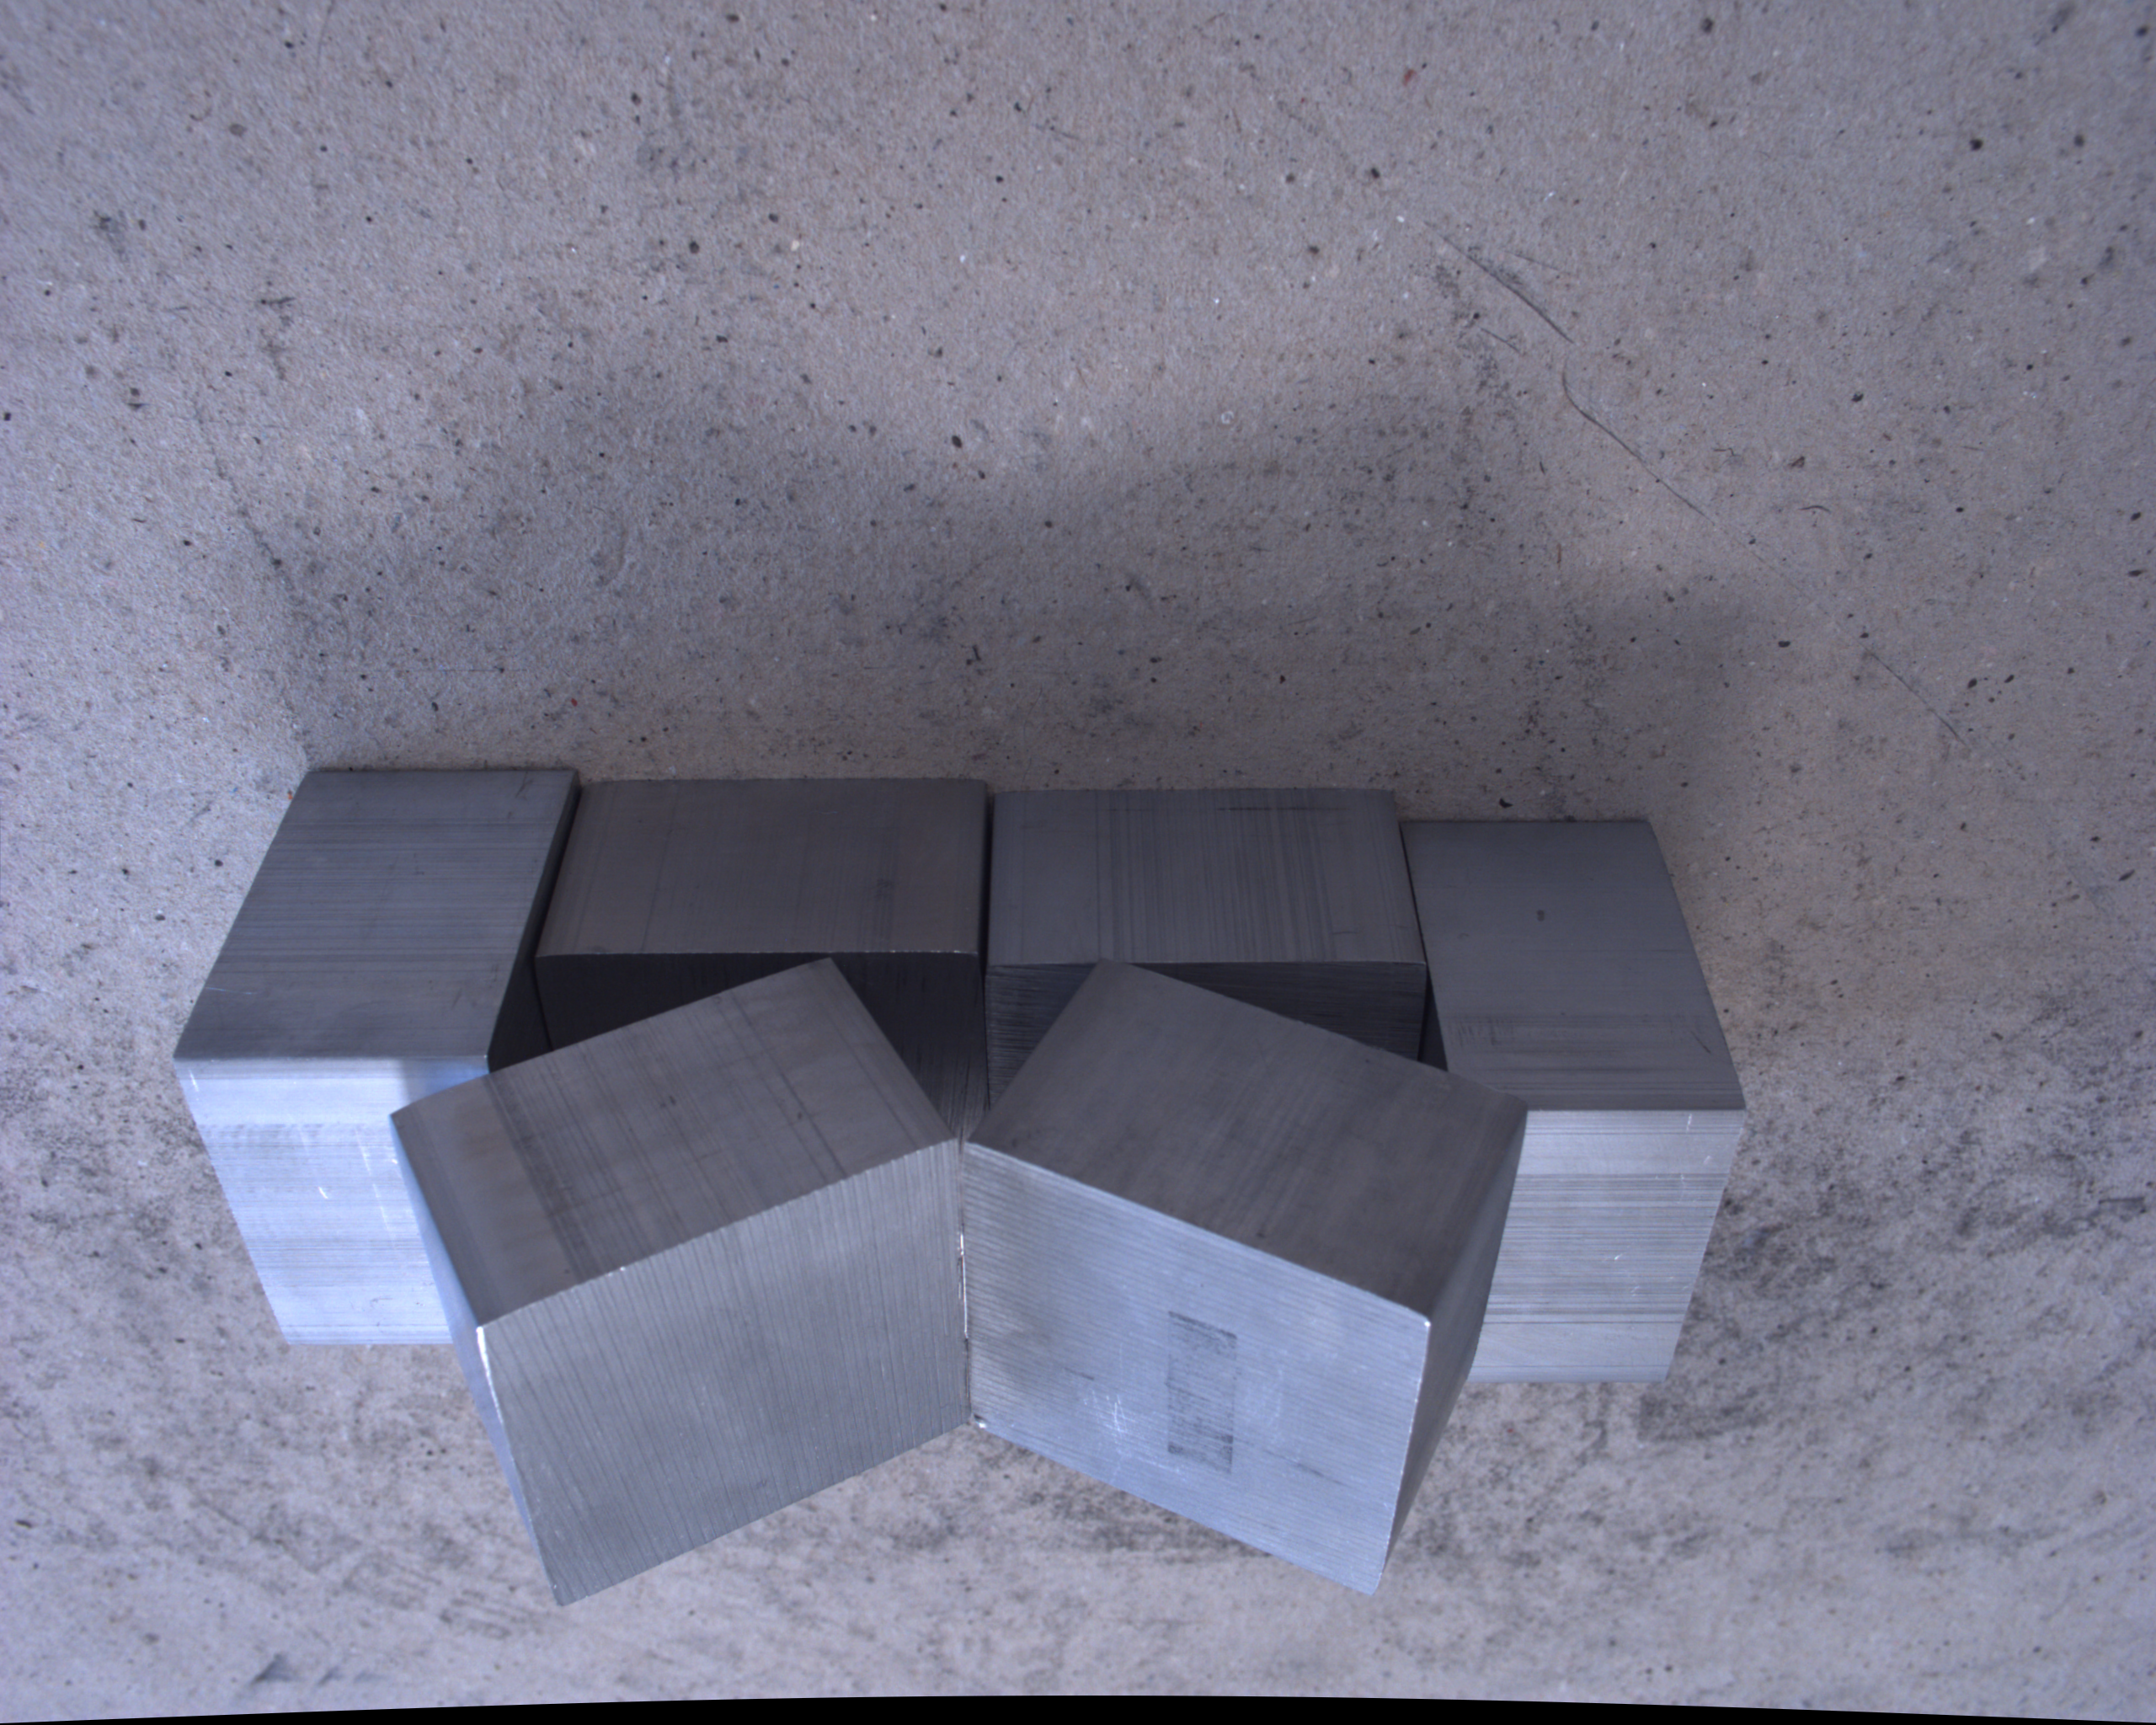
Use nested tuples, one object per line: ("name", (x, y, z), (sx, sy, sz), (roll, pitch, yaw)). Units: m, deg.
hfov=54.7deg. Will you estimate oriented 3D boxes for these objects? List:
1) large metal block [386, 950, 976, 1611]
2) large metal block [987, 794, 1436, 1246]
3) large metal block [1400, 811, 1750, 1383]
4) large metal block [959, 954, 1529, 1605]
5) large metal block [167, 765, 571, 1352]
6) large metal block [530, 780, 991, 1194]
("large metal block", (-0.066, 0.072, 0.366), (0.081, 0.050, 0.079), (-19, 134, -22))
("large metal block", (0.024, 0.033, 0.419), (0.081, 0.050, 0.079), (0, 130, 0))
("large metal block", (0.090, 0.046, 0.414), (0.050, 0.080, 0.079), (-1, 130, -1))
("large metal block", (0.027, 0.073, 0.369), (0.080, 0.050, 0.079), (18, 133, 19))
("large metal block", (-0.125, 0.037, 0.402), (0.050, 0.080, 0.079), (0, 129, 1))
("large metal block", (-0.058, 0.030, 0.417), (0.081, 0.050, 0.079), (0, 130, 0))
